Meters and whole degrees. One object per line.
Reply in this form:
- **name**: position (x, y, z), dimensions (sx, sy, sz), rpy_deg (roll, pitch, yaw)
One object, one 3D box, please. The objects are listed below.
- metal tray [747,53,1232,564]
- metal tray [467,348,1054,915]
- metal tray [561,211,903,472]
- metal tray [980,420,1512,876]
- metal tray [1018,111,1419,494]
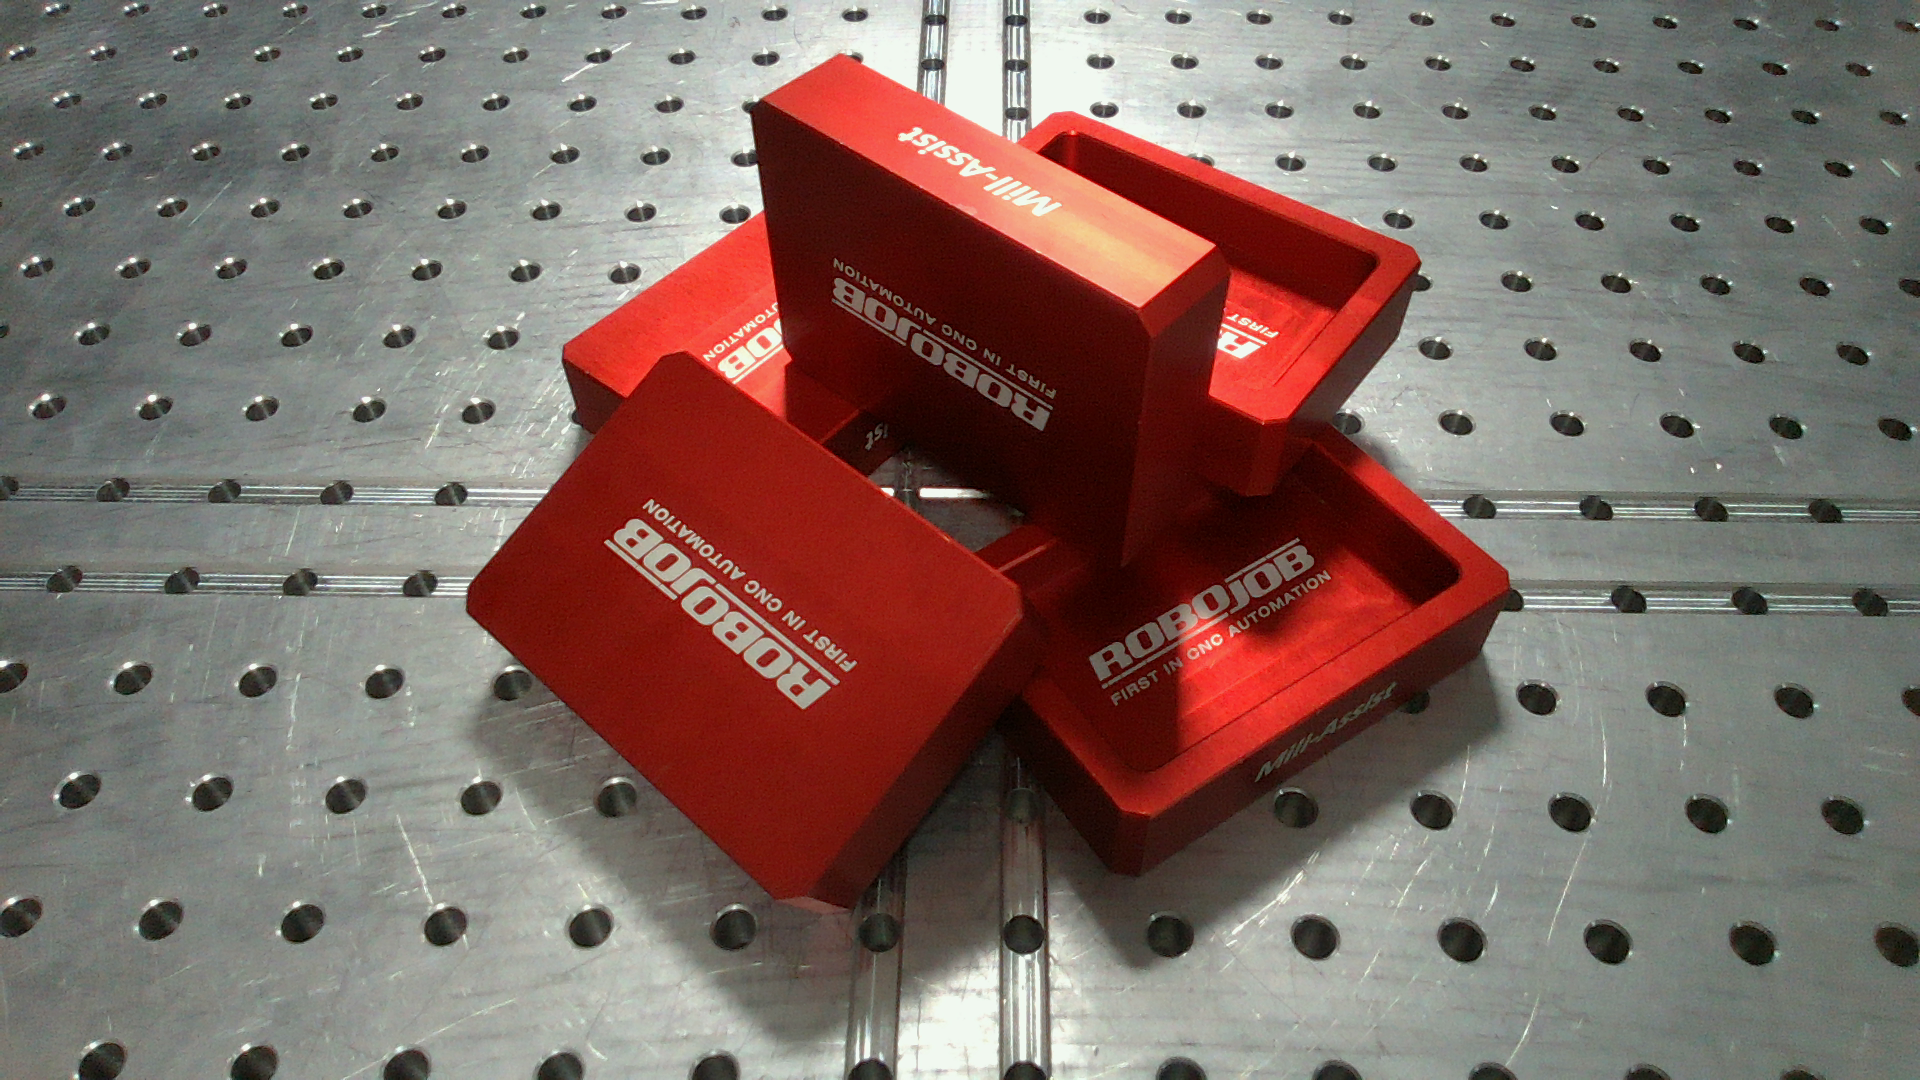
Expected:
- **metal tray**: position (0.004, -0.061, 0.363), dimensions (0.130, 0.090, 0.030), rpy_deg (33, 58, 25)
- **metal tray**: position (-0.053, 0.020, 0.350), dimensions (0.130, 0.030, 0.090), rpy_deg (35, 83, 26)
- **metal tray**: position (-0.049, -0.065, 0.445), dimensions (0.090, 0.030, 0.130), rpy_deg (32, 57, 24)
- **metal tray**: position (0.070, 0.020, 0.373), dimensions (0.130, 0.030, 0.090), rpy_deg (-27, 55, -21)
- **metal tray**: position (0.058, -0.077, 0.416), dimensions (0.130, 0.030, 0.090), rpy_deg (29, 56, 22)
